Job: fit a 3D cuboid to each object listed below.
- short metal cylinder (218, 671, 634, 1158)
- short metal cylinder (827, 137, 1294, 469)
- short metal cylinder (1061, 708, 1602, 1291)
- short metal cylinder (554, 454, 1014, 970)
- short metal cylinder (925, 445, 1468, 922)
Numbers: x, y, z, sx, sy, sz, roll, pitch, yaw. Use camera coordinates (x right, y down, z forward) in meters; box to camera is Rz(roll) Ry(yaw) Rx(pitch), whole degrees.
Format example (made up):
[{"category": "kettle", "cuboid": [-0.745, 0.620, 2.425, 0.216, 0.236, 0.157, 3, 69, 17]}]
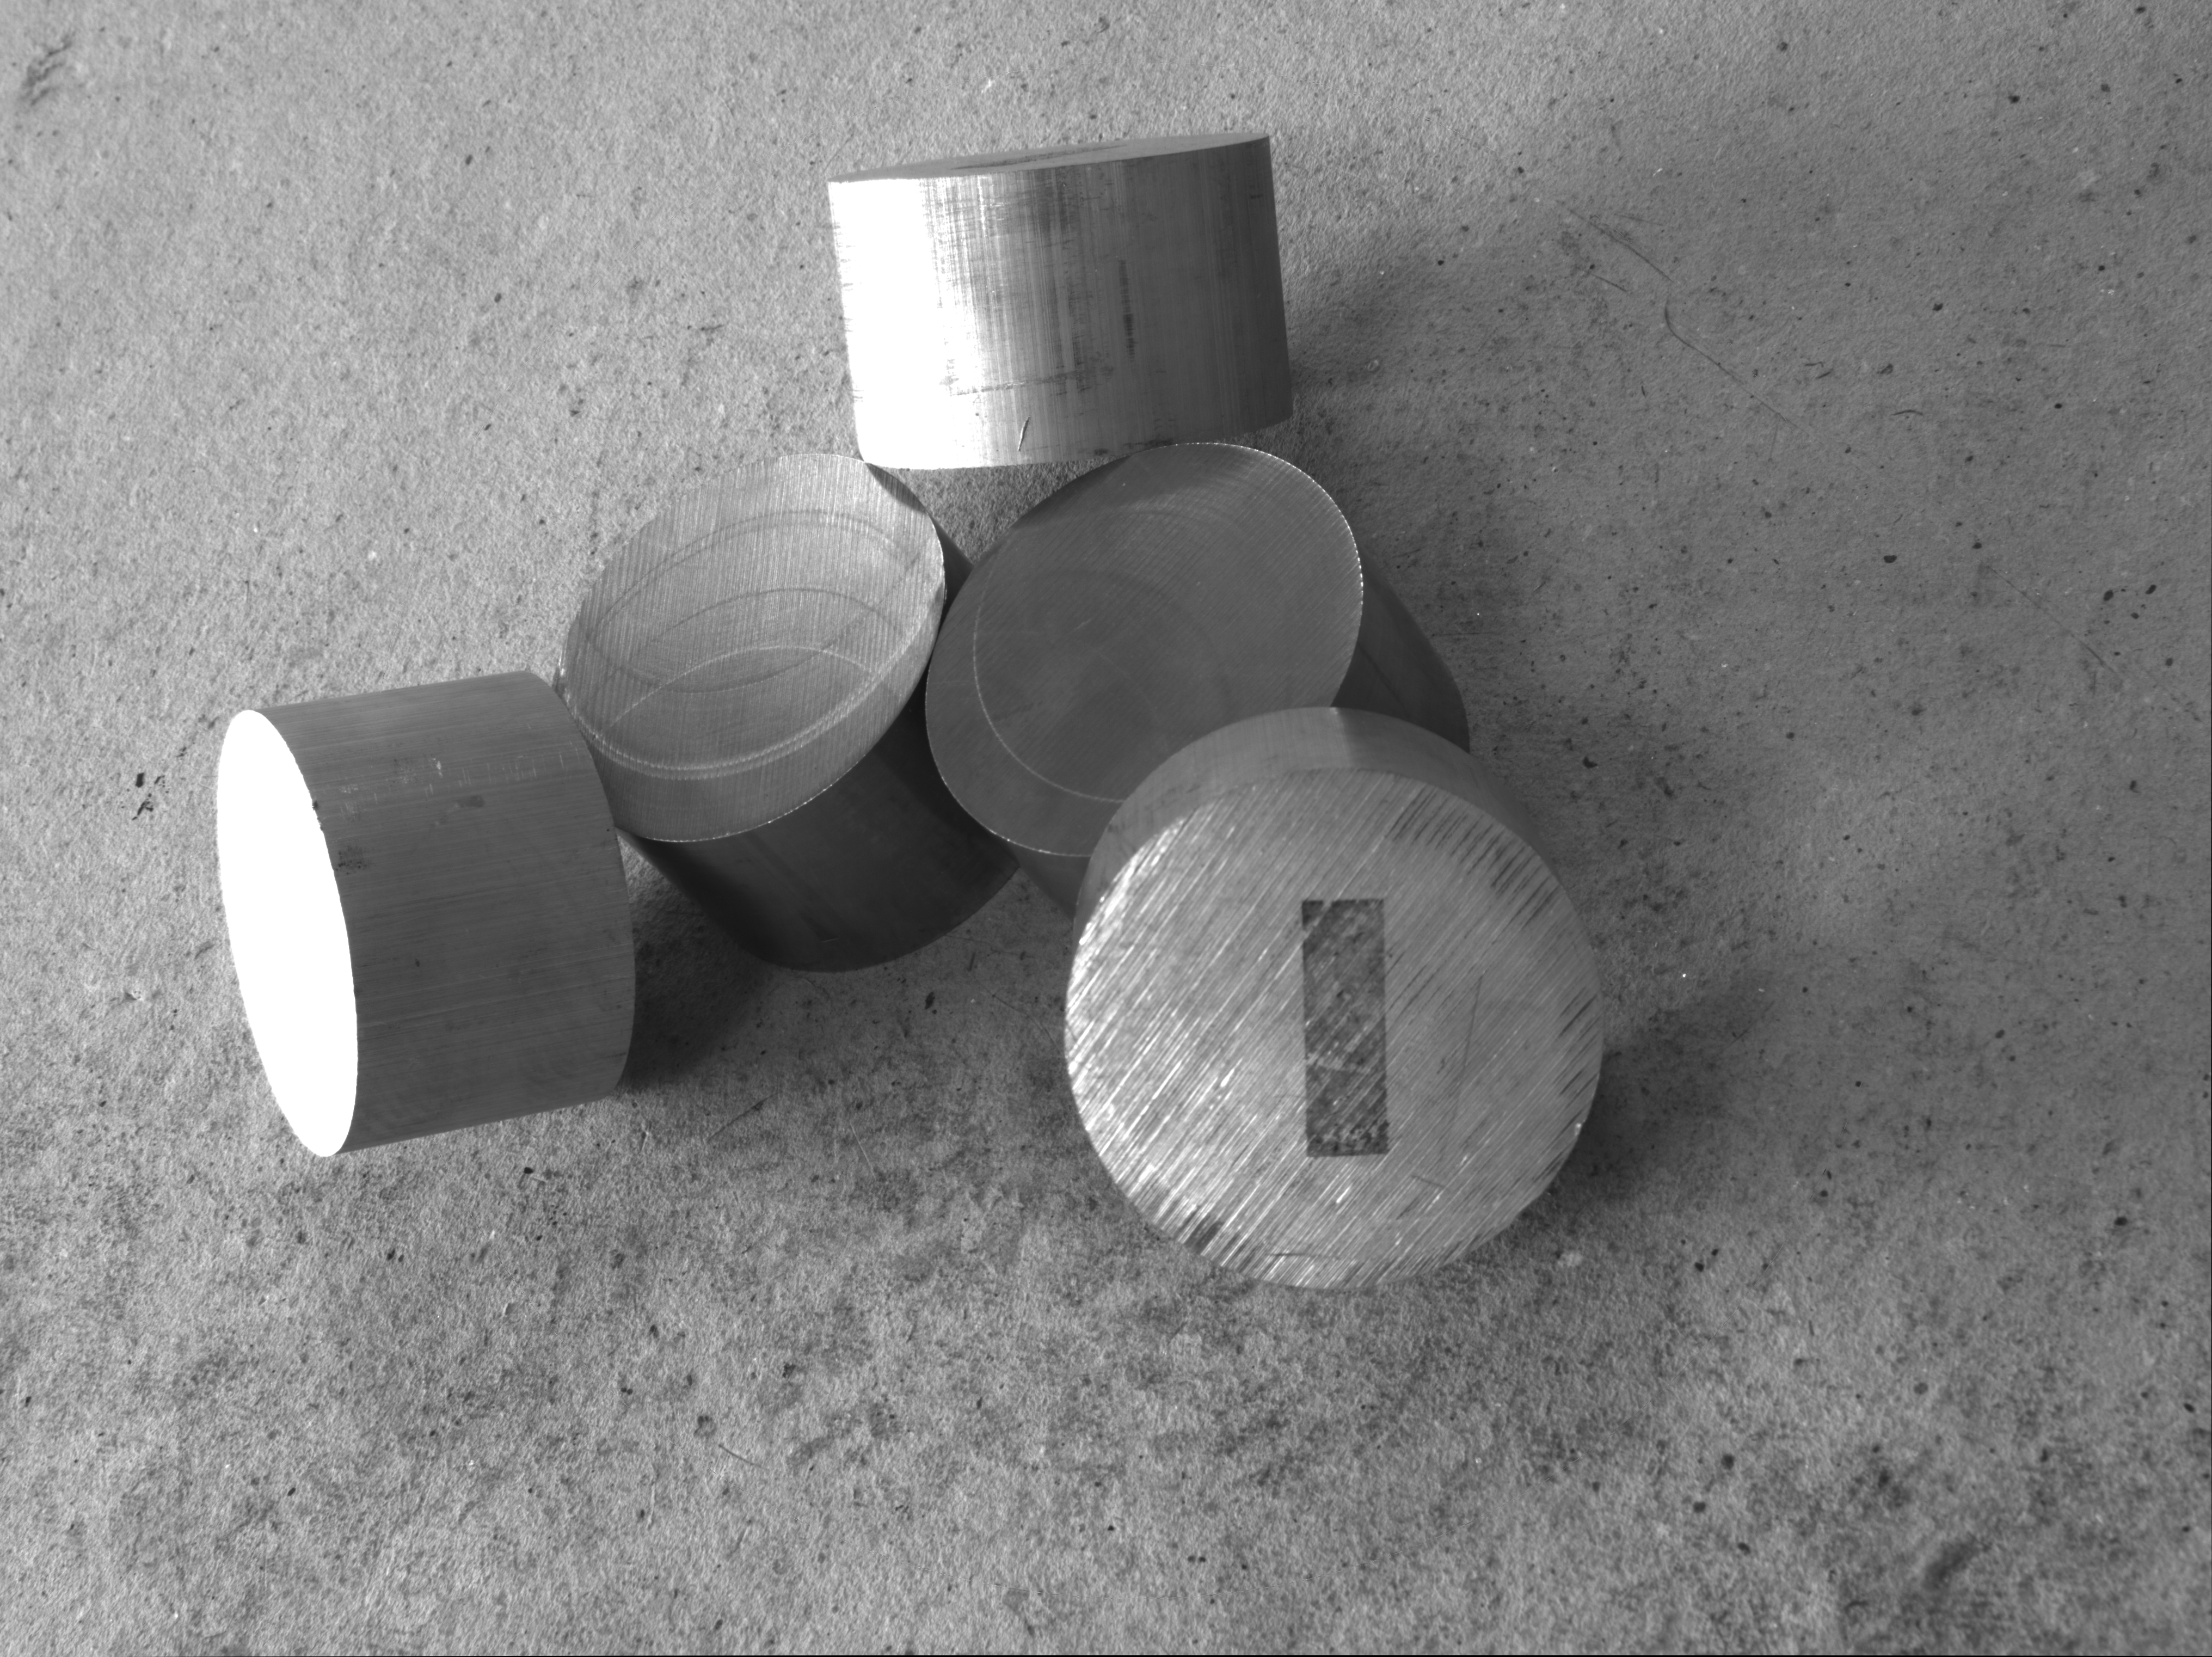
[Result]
[{"category": "short metal cylinder", "cuboid": [-0.123, 0.015, 0.659, 0.050, 0.080, 0.080, -10, 45, -27]}, {"category": "short metal cylinder", "cuboid": [-0.008, -0.096, 0.666, 0.080, 0.080, 0.050, 2, 105, 29]}, {"category": "short metal cylinder", "cuboid": [0.034, 0.025, 0.567, 0.080, 0.080, 0.050, -32, 10, 7]}, {"category": "short metal cylinder", "cuboid": [-0.054, -0.021, 0.670, 0.080, 0.050, 0.080, -14, 55, 21]}, {"category": "short metal cylinder", "cuboid": [0.016, -0.019, 0.631, 0.080, 0.050, 0.080, -14, 55, 21]}]
